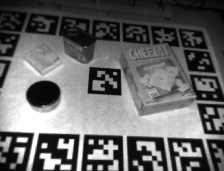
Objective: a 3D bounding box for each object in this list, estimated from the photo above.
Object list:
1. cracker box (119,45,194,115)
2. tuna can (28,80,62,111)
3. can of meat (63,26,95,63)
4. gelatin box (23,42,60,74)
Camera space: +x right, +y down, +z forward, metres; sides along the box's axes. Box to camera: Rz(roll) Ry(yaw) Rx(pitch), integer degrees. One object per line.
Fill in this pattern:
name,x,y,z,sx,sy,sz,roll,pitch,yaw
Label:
cracker box,0.133,-0.027,0.688,0.165,0.072,0.212,-10,57,-17
tuna can,-0.186,0.029,0.607,0.086,0.034,0.085,4,59,-6
can of meat,-0.107,-0.131,0.710,0.101,0.084,0.058,28,56,11
gelatin box,-0.221,-0.089,0.685,0.089,0.030,0.074,40,56,14
